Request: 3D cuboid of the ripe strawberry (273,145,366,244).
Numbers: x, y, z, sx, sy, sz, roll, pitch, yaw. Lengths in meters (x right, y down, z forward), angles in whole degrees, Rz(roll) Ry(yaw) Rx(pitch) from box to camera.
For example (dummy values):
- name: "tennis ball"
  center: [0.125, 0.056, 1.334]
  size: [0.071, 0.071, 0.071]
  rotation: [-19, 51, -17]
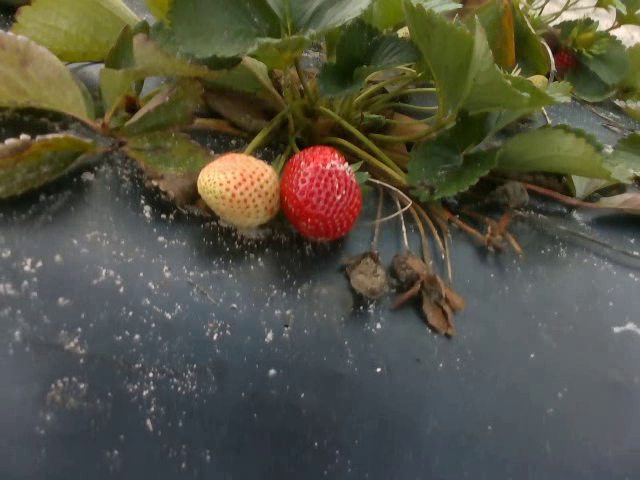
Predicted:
- name: "ripe strawberry"
  center: [-0.001, -0.016, 0.202]
  size: [0.033, 0.034, 0.041]
  rotation: [-46, -5, 13]
